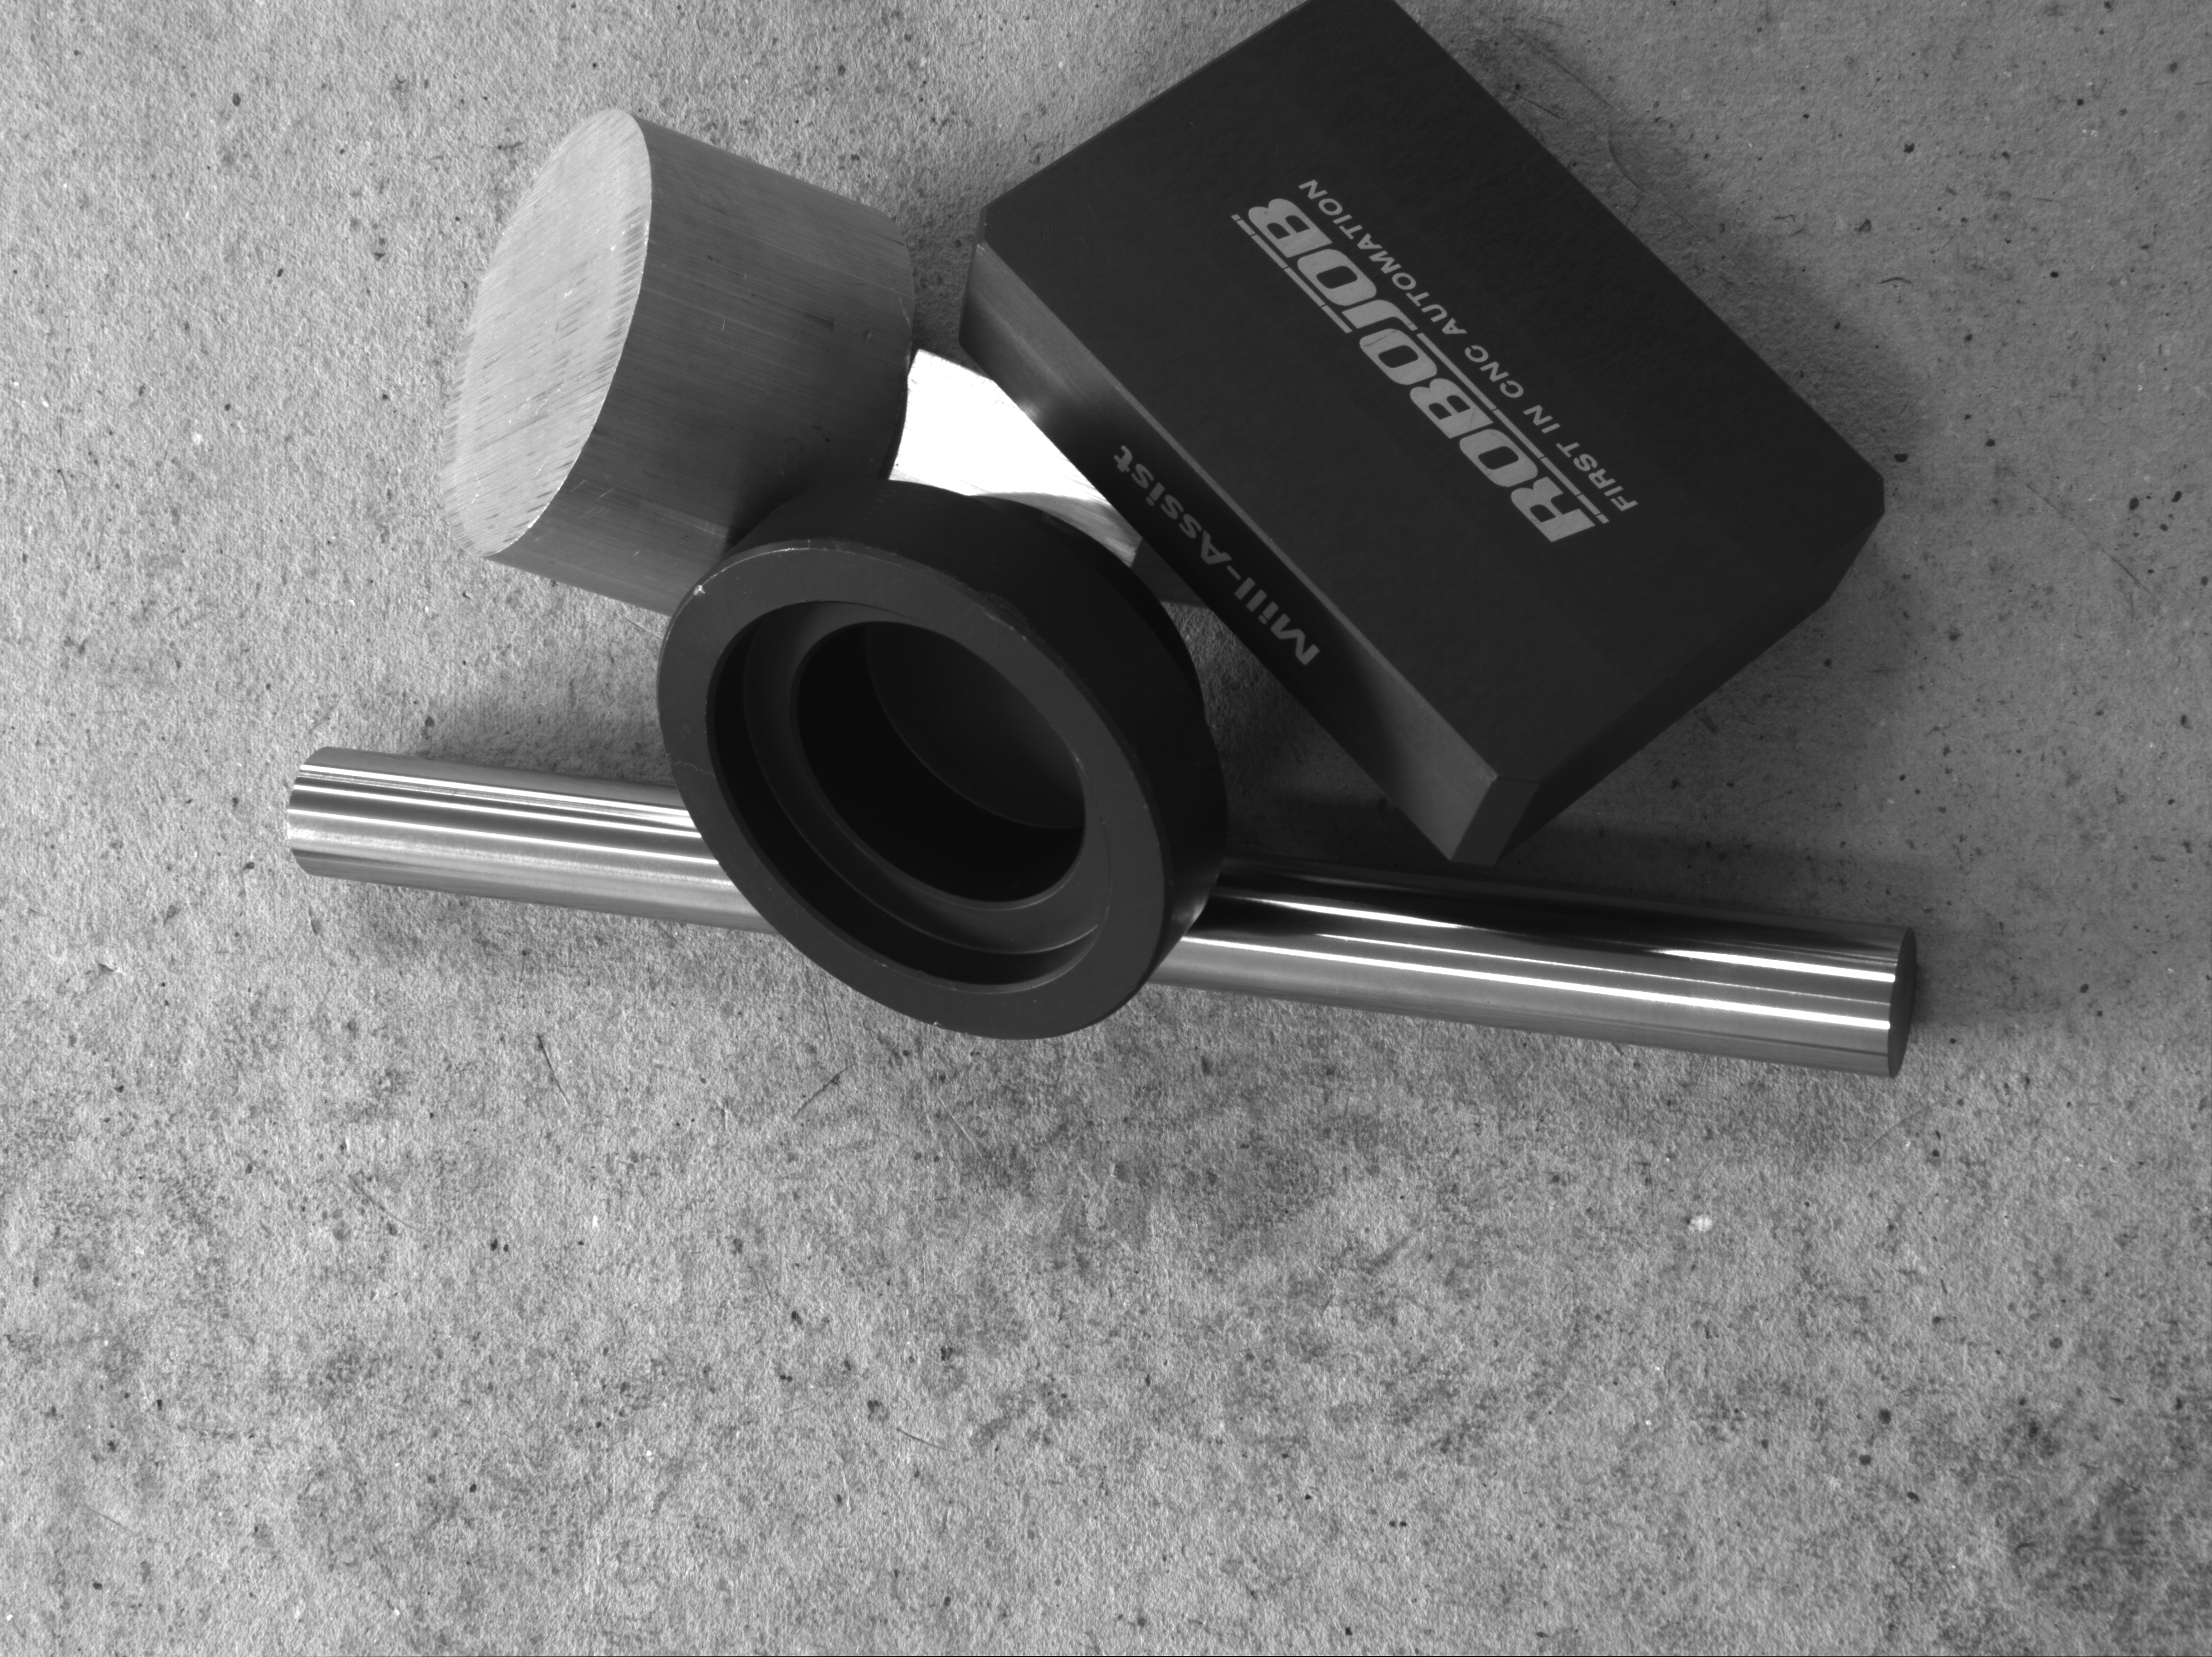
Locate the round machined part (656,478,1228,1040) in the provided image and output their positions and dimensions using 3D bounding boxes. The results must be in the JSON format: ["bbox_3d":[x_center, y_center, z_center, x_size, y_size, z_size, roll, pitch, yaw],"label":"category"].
[{"bbox_3d":[-0.023,-0.016,0.613,0.098,0.042,0.098,19,133,22],"label":"round machined part"}]

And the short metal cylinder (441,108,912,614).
[{"bbox_3d":[-0.076,-0.079,0.640,0.080,0.050,0.080,-34,47,48],"label":"short metal cylinder"}]

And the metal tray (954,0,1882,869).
[{"bbox_3d":[0.050,-0.068,0.599,0.090,0.030,0.130,-37,75,-23],"label":"metal tray"}]

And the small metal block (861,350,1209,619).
[{"bbox_3d":[-0.007,-0.059,0.635,0.050,0.050,0.025,25,98,18],"label":"small metal block"}]

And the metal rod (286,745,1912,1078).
[{"bbox_3d":[-0.010,0.012,0.651,0.299,0.025,0.025,7,92,20],"label":"metal rod"}]
